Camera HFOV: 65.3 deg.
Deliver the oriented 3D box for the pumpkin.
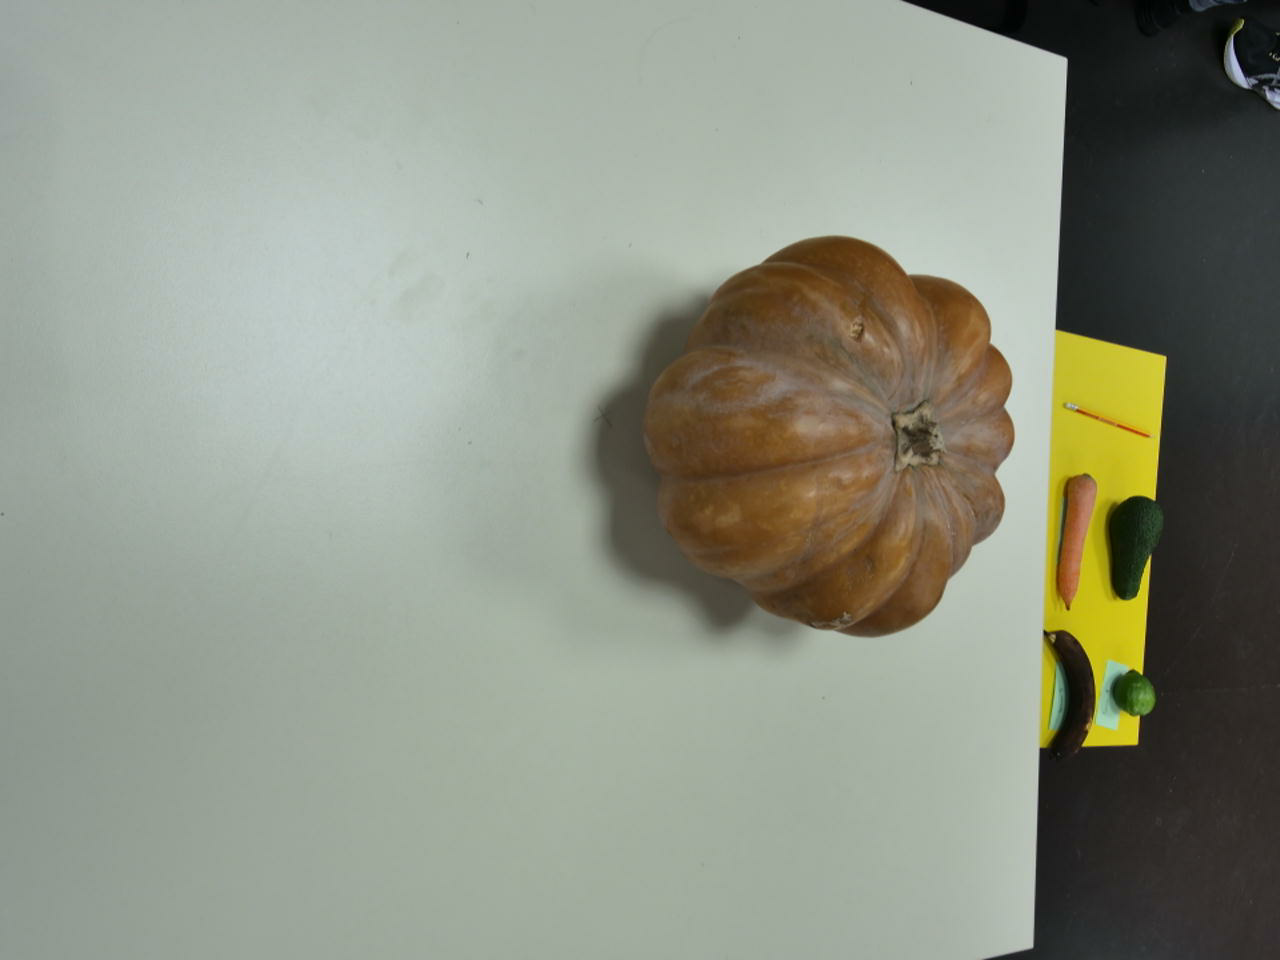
[{"bbox_3d":[0.133,-0.029,0.682,0.277,0.181,0.277,-1,91,-29],"label":"pumpkin"}]
